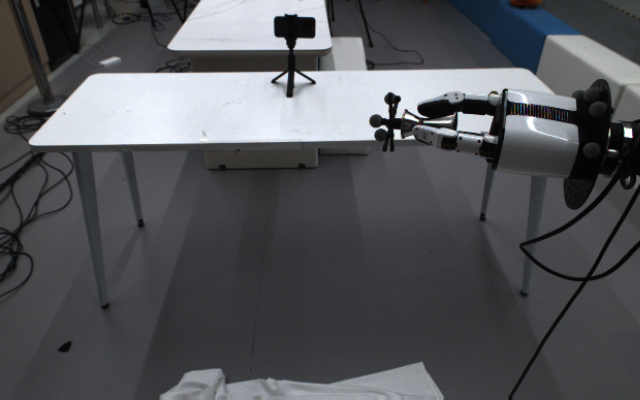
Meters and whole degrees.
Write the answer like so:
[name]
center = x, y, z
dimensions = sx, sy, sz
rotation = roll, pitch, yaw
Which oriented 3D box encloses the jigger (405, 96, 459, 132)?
[jigger]
center = 0.153, -0.105, 0.645
dimensions = 0.071, 0.043, 0.043
rotation = 7, 34, 21
